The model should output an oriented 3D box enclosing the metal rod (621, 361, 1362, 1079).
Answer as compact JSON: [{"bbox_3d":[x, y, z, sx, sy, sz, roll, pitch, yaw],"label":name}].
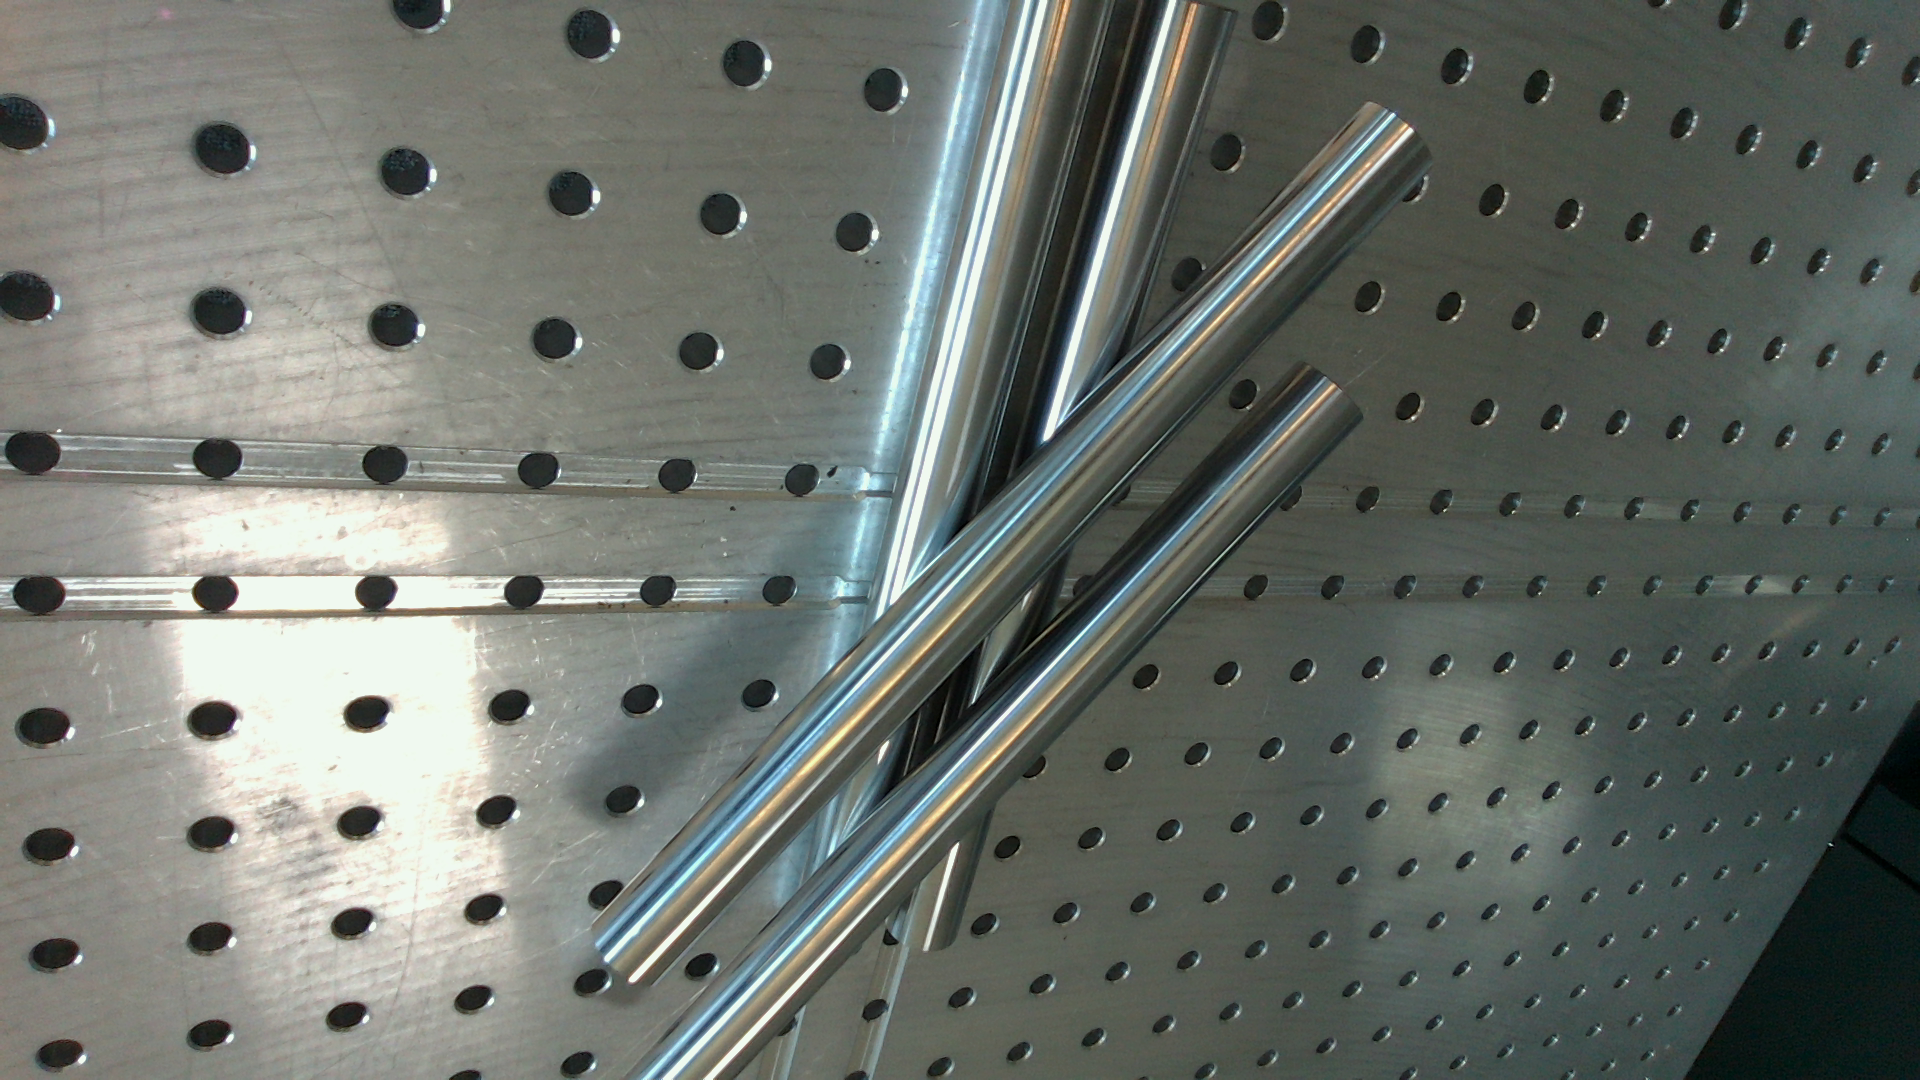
[{"bbox_3d":[0.003,0.067,0.402,0.300,0.025,0.025,-47,129,4],"label":"metal rod"}]

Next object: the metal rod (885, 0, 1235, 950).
[{"bbox_3d":[0.021,-0.002,0.403,0.025,0.025,0.300,1,118,-29],"label":"metal rod"}]

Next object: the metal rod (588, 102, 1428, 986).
[{"bbox_3d":[0.010,0.004,0.368,0.300,0.025,0.025,-47,129,4],"label":"metal rod"}]

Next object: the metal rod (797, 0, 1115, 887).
[{"bbox_3d":[-0.009,-0.005,0.385,0.025,0.025,0.300,1,118,-29],"label":"metal rod"}]
